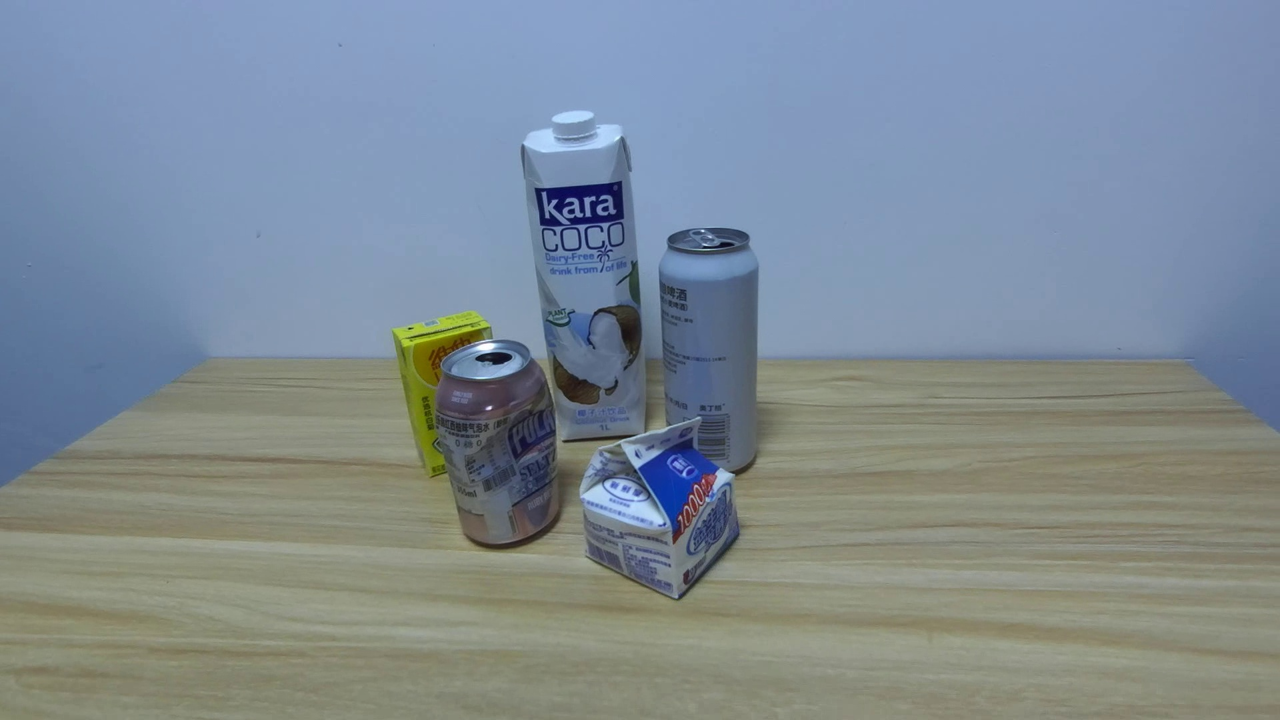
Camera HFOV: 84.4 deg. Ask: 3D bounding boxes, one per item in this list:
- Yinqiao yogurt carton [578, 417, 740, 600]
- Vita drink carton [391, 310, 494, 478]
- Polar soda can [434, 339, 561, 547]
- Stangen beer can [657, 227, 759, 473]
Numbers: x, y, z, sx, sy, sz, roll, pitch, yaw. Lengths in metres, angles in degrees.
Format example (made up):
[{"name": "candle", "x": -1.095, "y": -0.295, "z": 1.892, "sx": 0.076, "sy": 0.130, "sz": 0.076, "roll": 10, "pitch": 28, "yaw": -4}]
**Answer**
[{"name": "Yinqiao yogurt carton", "x": 0.010, "y": 0.076, "z": 0.422, "sx": 0.077, "sy": 0.093, "sz": 0.083, "roll": 14, "pitch": 30, "yaw": 36}, {"name": "Vita drink carton", "x": -0.144, "y": 0.024, "z": 0.544, "sx": 0.067, "sy": 0.109, "sz": 0.043, "roll": -17, "pitch": 27, "yaw": -27}, {"name": "Polar soda can", "x": -0.088, "y": 0.054, "z": 0.455, "sx": 0.074, "sy": 0.122, "sz": 0.067, "roll": -11, "pitch": 26, "yaw": -13}, {"name": "Stangen beer can", "x": 0.050, "y": -0.003, "z": 0.495, "sx": 0.067, "sy": 0.171, "sz": 0.067, "roll": -3, "pitch": 24, "yaw": 2}]
